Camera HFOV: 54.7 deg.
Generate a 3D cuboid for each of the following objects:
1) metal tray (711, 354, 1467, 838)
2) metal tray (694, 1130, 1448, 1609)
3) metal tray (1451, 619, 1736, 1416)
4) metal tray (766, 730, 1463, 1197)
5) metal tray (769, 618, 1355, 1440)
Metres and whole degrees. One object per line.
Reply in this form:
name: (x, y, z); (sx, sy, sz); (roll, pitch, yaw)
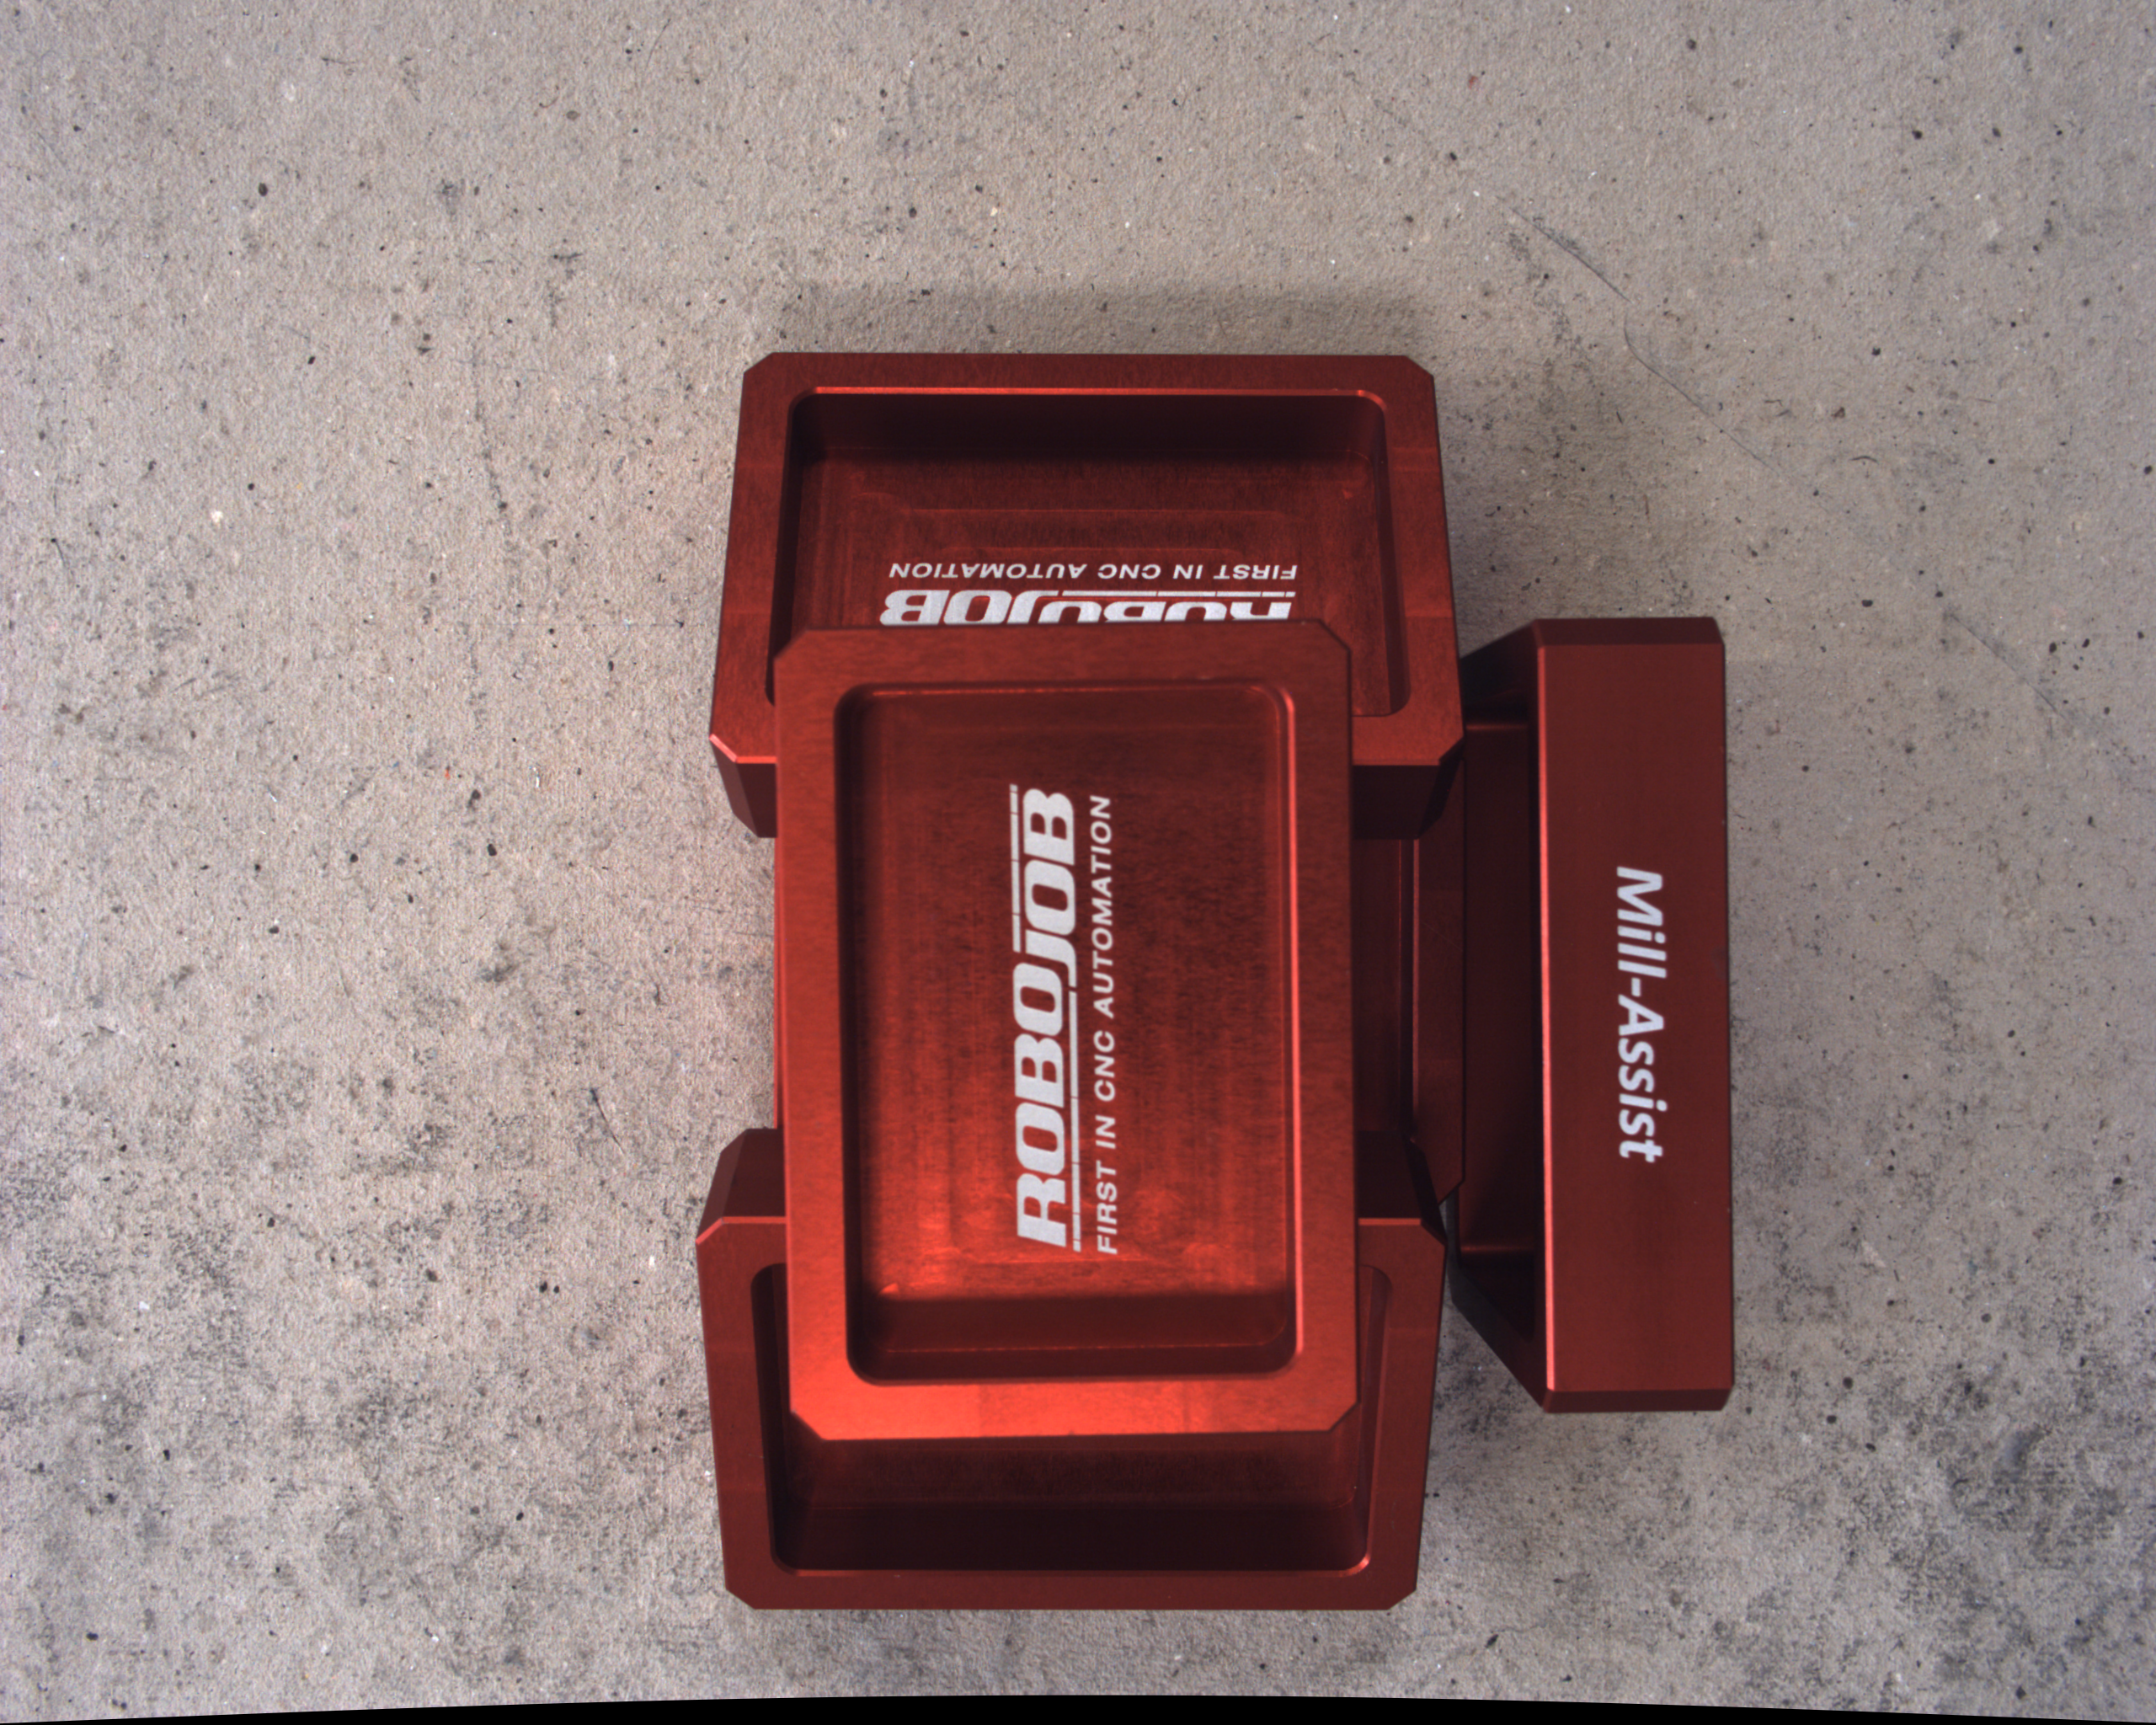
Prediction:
metal tray: (0.002, -0.051, 0.391); (0.131, 0.030, 0.090); (0, 63, -1)
metal tray: (-0.001, 0.096, 0.391); (0.131, 0.030, 0.089); (0, 115, 0)
metal tray: (0.090, 0.025, 0.379); (0.030, 0.090, 0.129); (-1, 91, 0)
metal tray: (0.007, 0.019, 0.407); (0.131, 0.030, 0.089); (-1, 92, 0)
metal tray: (-0.002, 0.026, 0.343); (0.091, 0.030, 0.129); (-1, 92, 0)
